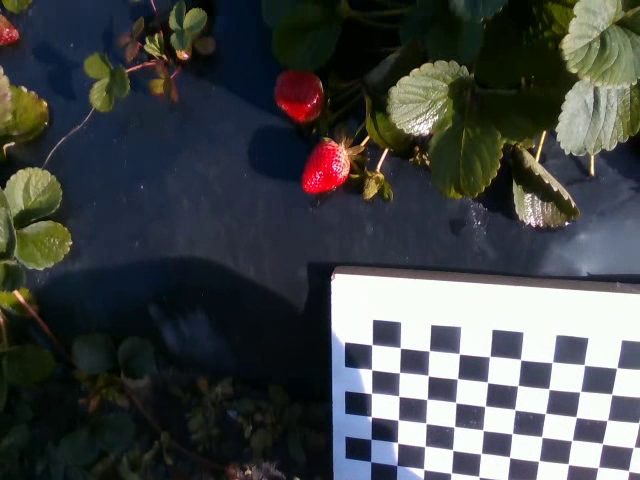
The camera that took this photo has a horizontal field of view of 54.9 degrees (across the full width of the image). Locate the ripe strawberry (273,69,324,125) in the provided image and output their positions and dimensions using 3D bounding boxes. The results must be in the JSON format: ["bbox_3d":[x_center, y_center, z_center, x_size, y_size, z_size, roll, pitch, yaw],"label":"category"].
[{"bbox_3d":[-0.018,-0.124,0.533,0.054,0.048,0.039,12,20,-17],"label":"ripe strawberry"}]

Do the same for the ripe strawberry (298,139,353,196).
[{"bbox_3d":[0.002,-0.060,0.512,0.053,0.043,0.038,-46,5,-20],"label":"ripe strawberry"}]
